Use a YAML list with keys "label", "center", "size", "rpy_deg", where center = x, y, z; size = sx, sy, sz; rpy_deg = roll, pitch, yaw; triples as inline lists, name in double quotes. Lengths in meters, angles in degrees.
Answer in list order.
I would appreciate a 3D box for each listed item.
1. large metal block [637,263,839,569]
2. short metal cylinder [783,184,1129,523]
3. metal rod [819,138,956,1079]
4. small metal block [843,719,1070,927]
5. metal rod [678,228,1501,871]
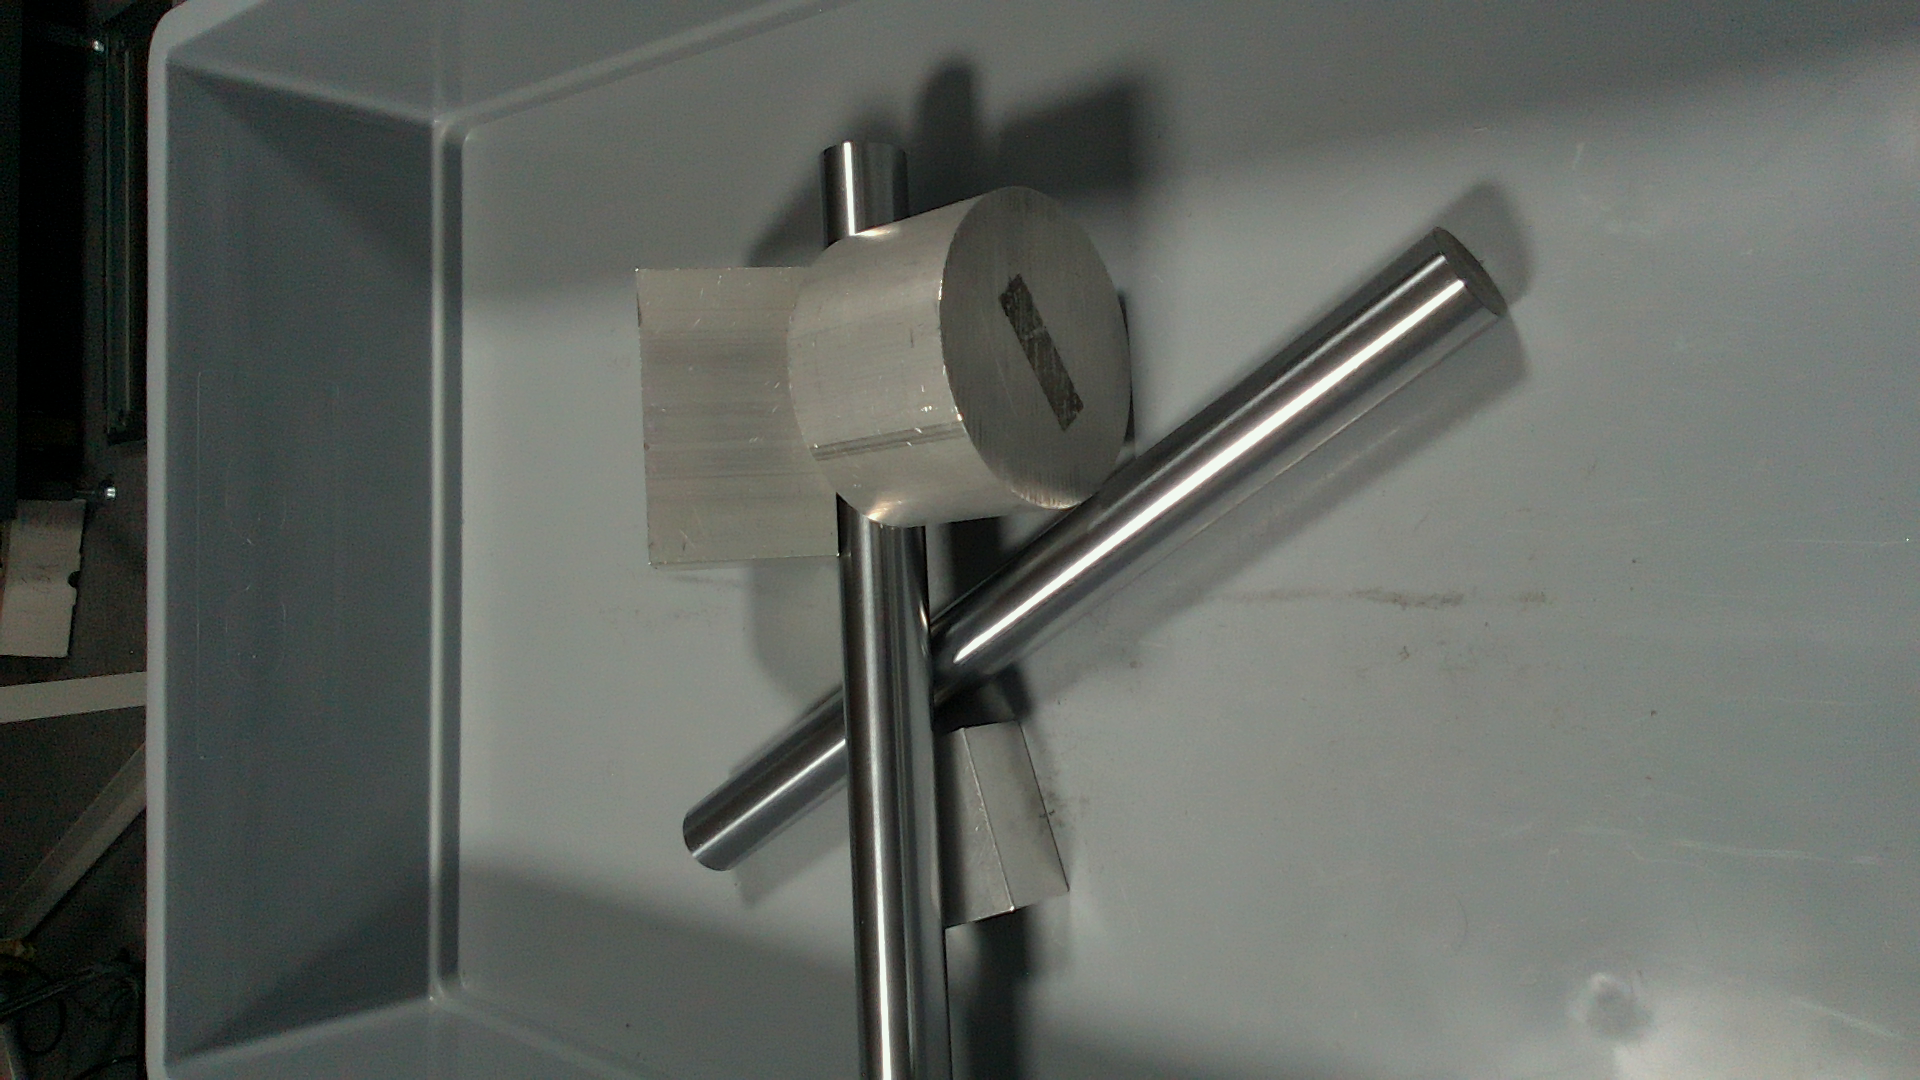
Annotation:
- label: "large metal block"
  center: [-0.065, -0.032, 0.407]
  size: [0.080, 0.050, 0.080]
  rpy_deg: [163, 104, -80]
- label: "short metal cylinder"
  center: [0.001, -0.046, 0.356]
  size: [0.050, 0.080, 0.080]
  rpy_deg: [-6, 86, 39]
- label: "metal rod"
  center: [-0.019, 0.041, 0.376]
  size: [0.025, 0.025, 0.300]
  rpy_deg: [-6, 85, 40]
- label: "small metal block"
  center: [-0.002, 0.084, 0.395]
  size: [0.050, 0.025, 0.050]
  rpy_deg: [-27, 73, 37]
- label: "metal rod"
  center: [0.013, 0.021, 0.382]
  size: [0.299, 0.025, 0.025]
  rpy_deg: [-39, 66, 33]
